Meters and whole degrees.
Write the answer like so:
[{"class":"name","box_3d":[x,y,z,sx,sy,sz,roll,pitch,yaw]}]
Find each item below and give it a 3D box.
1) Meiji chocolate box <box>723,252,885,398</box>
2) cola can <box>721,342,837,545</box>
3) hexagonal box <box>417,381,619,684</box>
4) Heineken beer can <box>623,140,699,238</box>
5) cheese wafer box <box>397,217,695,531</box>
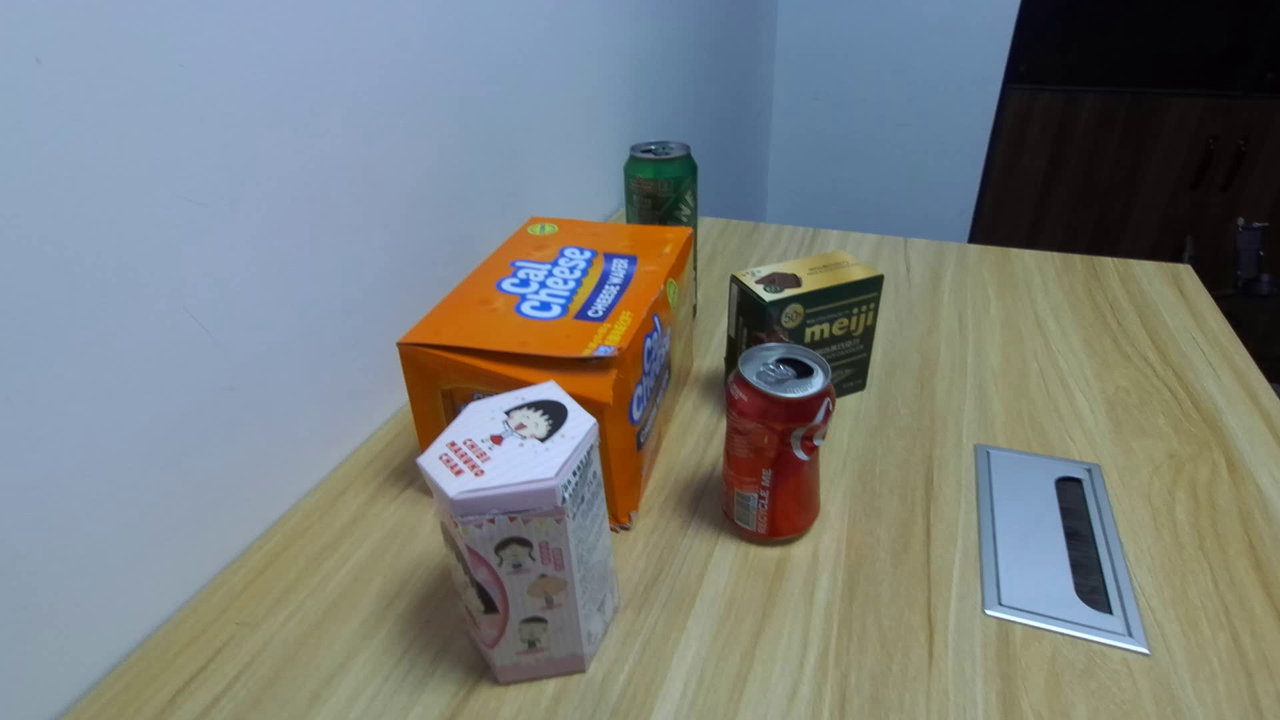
[{"class":"Meiji chocolate box","box_3d":[0.127,-0.019,0.561,0.110,0.109,0.056,-14,33,-20]},{"class":"cola can","box_3d":[0.085,0.051,0.440,0.066,0.117,0.066,2,33,7]},{"class":"hexagonal box","box_3d":[-0.057,0.091,0.371,0.085,0.135,0.091,-23,38,-29]},{"class":"Heineken beer can","box_3d":[0.022,-0.109,0.657,0.067,0.169,0.067,-2,26,1]},{"class":"cheese wafer box","box_3d":[-0.049,-0.007,0.527,0.149,0.137,0.227,8,33,14]}]
